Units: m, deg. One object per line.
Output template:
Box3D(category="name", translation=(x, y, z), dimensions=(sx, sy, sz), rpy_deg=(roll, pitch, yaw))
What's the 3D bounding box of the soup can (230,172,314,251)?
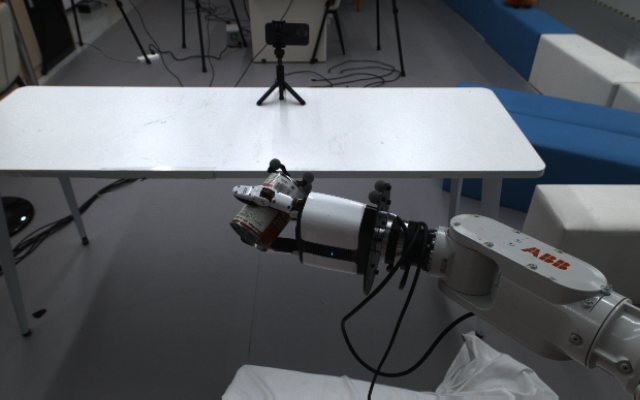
Box3D(category="soup can", translation=(-0.075, 0.017, 0.715), dimensions=(0.067, 0.067, 0.101), rpy_deg=(25, 66, 30))
